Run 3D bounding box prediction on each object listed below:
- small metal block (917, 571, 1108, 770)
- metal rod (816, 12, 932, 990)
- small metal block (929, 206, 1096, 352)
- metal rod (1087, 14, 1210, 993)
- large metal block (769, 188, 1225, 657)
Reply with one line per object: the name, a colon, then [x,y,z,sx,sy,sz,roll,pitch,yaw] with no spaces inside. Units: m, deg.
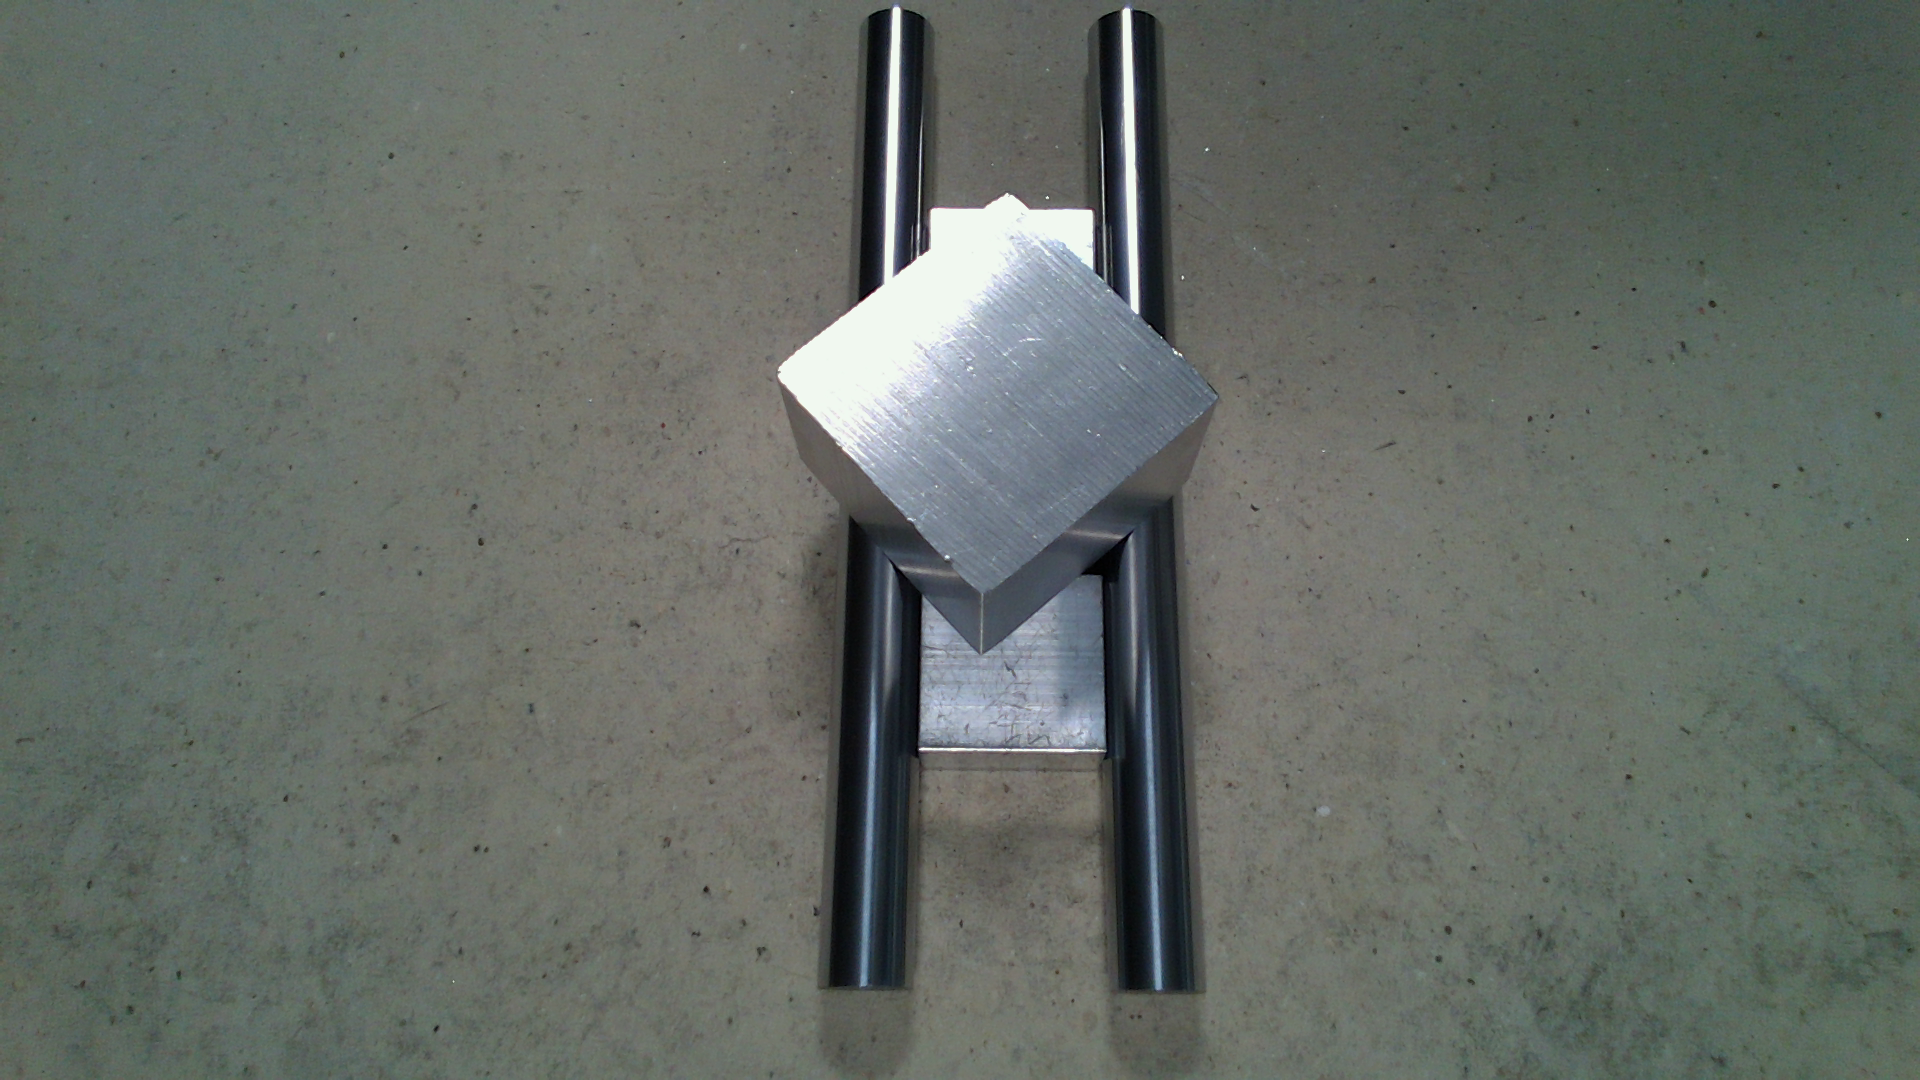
small metal block: [0.014,0.036,0.380,0.050,0.025,0.050,1,70,0]
metal rod: [-0.023,-0.025,0.405,0.025,0.025,0.300,1,70,0]
small metal block: [0.015,-0.073,0.420,0.050,0.025,0.050,1,70,0]
metal rod: [0.053,-0.025,0.404,0.025,0.025,0.300,1,70,0]
large metal block: [0.009,-0.030,0.364,0.080,0.050,0.080,-39,75,-13]
